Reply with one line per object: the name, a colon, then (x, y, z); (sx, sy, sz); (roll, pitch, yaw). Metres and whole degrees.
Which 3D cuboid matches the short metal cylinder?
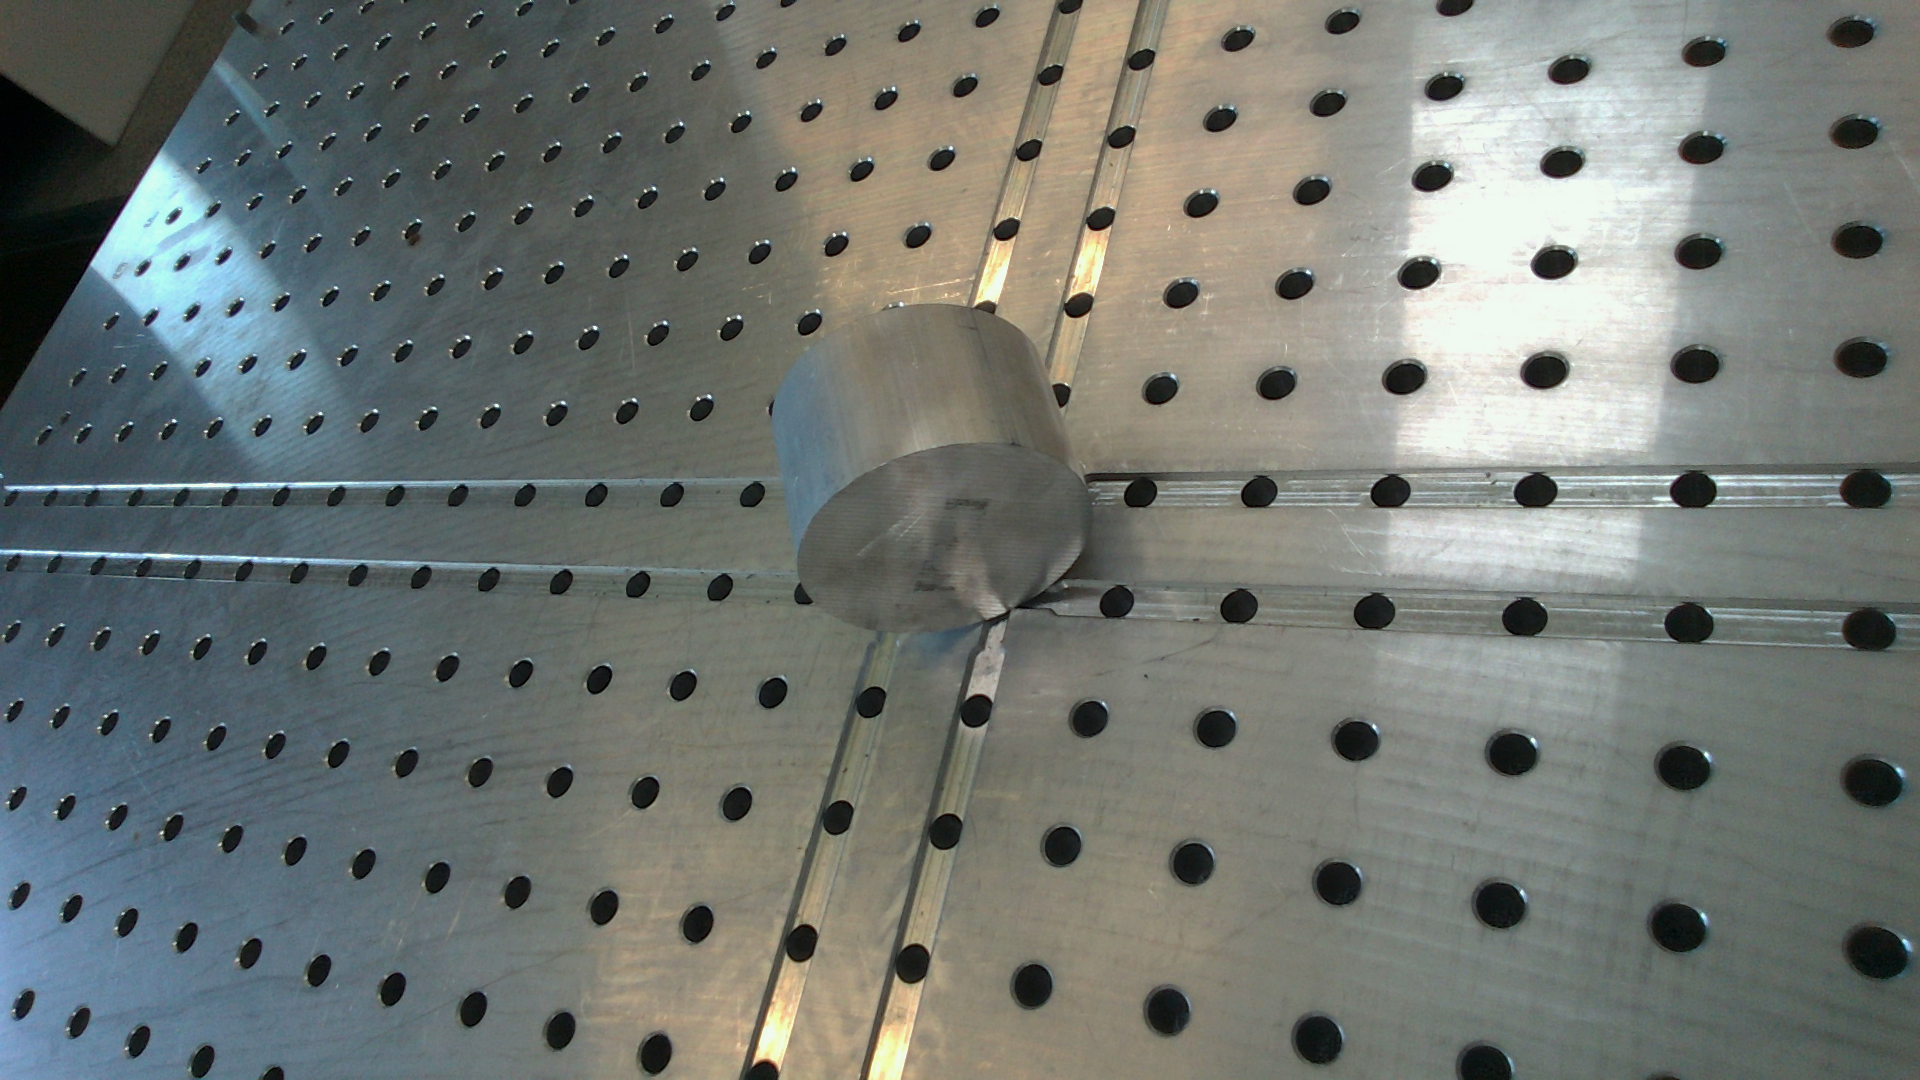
short metal cylinder: (-0.009, -0.019, 0.377); (0.080, 0.080, 0.050); (-25, 52, 13)
